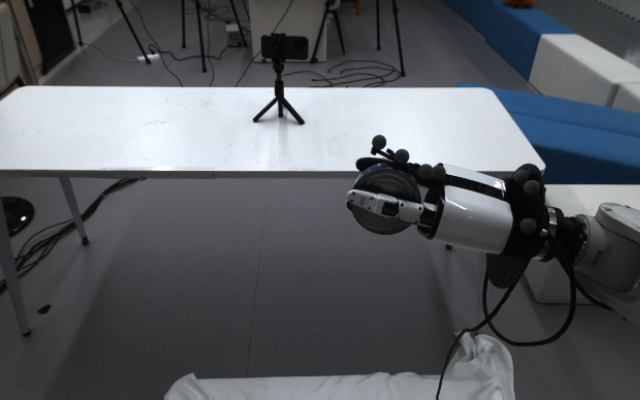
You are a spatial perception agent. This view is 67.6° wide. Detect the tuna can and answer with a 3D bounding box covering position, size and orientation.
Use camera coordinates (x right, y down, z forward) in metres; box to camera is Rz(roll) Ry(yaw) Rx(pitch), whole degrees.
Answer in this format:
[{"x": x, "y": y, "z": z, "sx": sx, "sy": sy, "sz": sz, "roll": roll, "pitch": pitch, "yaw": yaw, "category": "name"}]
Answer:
[{"x": 0.084, "y": -0.005, "z": 0.601, "sx": 0.085, "sy": 0.085, "sz": 0.034, "roll": 7, "pitch": 17, "yaw": 6, "category": "tuna can"}]
